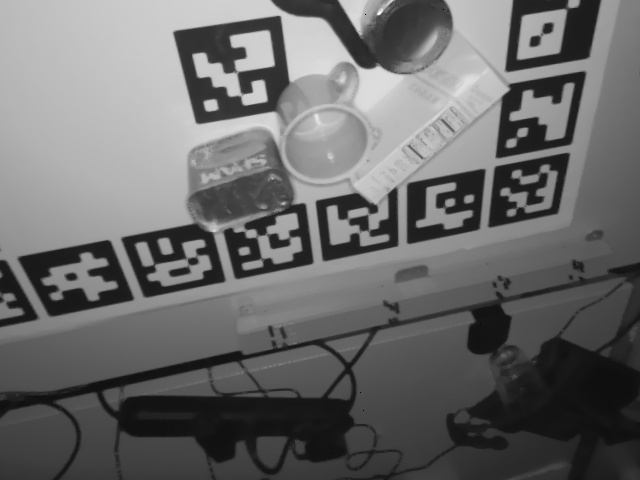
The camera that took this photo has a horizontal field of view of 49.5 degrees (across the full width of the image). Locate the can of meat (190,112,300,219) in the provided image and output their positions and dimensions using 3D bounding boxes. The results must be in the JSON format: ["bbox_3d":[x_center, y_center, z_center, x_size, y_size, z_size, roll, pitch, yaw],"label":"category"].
[{"bbox_3d":[-0.077,-0.077,0.694,0.102,0.084,0.057,-16,132,0],"label":"can of meat"}]

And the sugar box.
[{"bbox_3d":[0.110,-0.134,0.691,0.174,0.093,0.045,-39,129,19],"label":"sugar box"}]

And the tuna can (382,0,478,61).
[{"bbox_3d":[0.103,-0.215,0.654,0.086,0.034,0.085,-8,128,-9],"label":"tuna can"}]

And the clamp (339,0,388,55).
[{"bbox_3d":[0.022,-0.247,0.613,0.166,0.037,0.120,22,124,-24],"label":"clamp"}]

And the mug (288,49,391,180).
[{"bbox_3d":[0.019,-0.128,0.668,0.094,0.082,0.115,11,123,-21],"label":"mug"}]
